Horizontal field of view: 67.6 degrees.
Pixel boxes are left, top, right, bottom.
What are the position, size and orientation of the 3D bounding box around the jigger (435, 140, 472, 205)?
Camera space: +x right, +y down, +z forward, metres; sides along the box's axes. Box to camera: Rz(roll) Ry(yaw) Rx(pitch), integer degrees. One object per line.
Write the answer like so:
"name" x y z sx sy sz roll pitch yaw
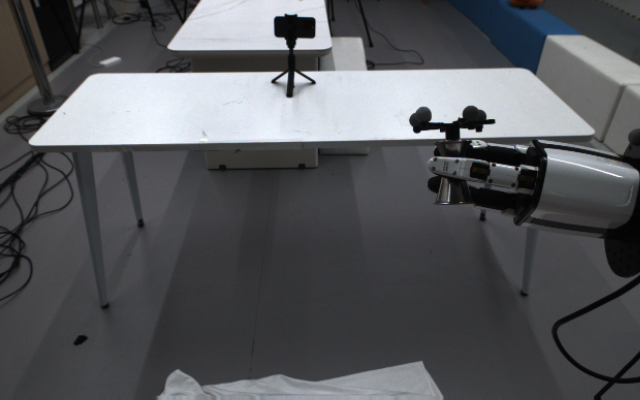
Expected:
"jigger" 0.145 -0.030 0.530 0.043 0.071 0.043 -2 3 0
